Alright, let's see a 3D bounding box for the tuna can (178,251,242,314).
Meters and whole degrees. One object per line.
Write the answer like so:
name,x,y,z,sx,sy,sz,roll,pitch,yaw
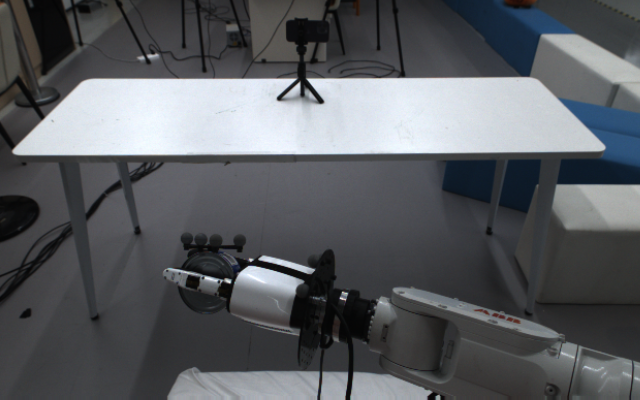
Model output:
tuna can,-0.150,0.114,0.671,0.085,0.085,0.034,11,-1,13
